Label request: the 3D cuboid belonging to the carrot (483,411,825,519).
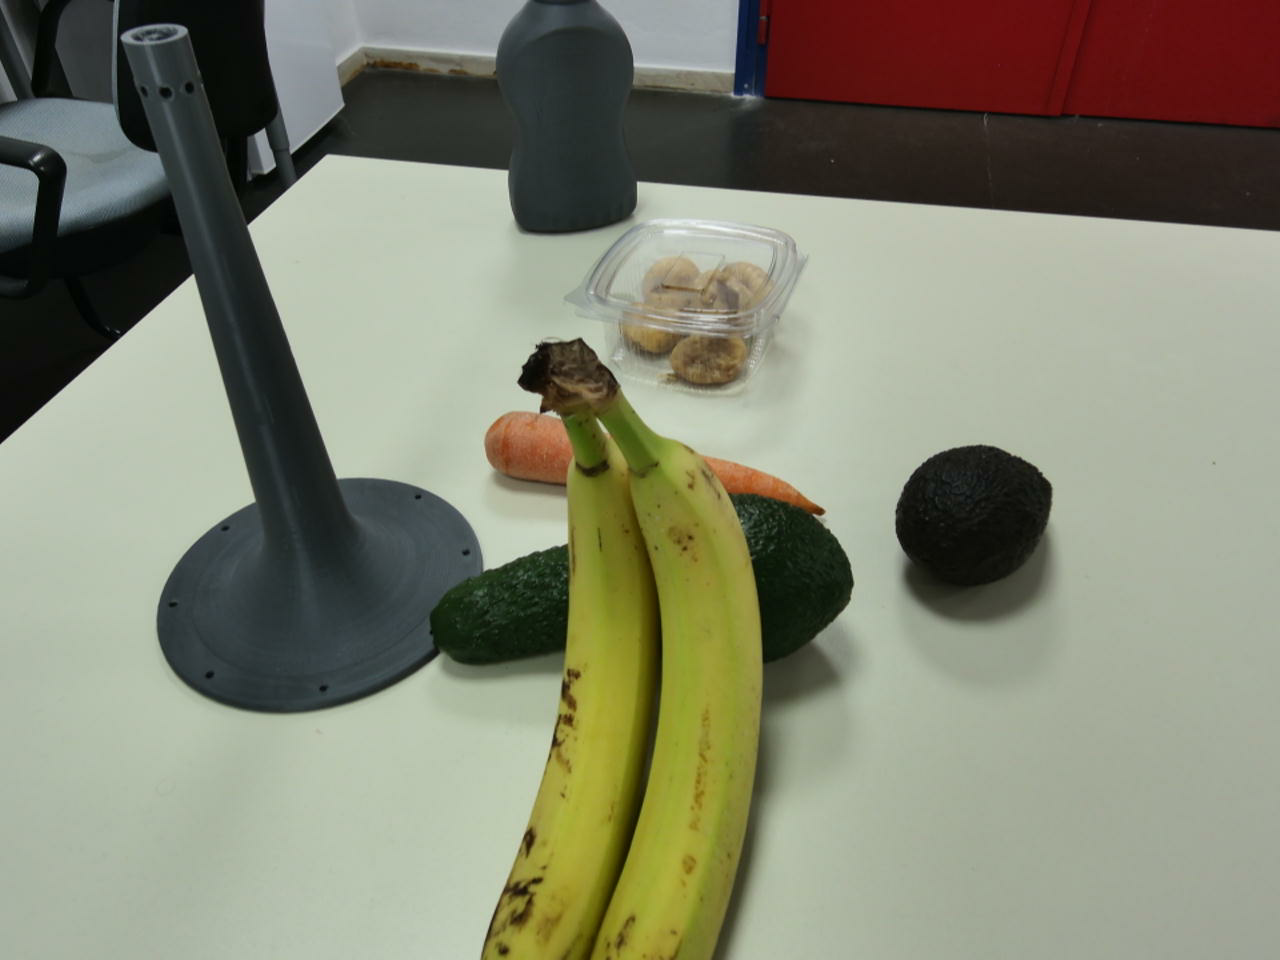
[{"bbox_3d":[0.007,-0.009,0.559,0.196,0.041,0.039,9,39,10],"label":"carrot"}]
